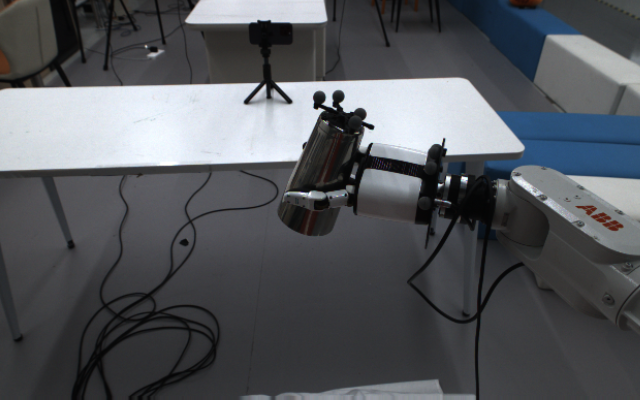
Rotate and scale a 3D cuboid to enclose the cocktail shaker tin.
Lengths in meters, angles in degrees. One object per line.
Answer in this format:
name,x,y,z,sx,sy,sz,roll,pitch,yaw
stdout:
cocktail shaker tin,0.005,-0.044,0.707,0.093,0.170,0.093,15,31,-10
